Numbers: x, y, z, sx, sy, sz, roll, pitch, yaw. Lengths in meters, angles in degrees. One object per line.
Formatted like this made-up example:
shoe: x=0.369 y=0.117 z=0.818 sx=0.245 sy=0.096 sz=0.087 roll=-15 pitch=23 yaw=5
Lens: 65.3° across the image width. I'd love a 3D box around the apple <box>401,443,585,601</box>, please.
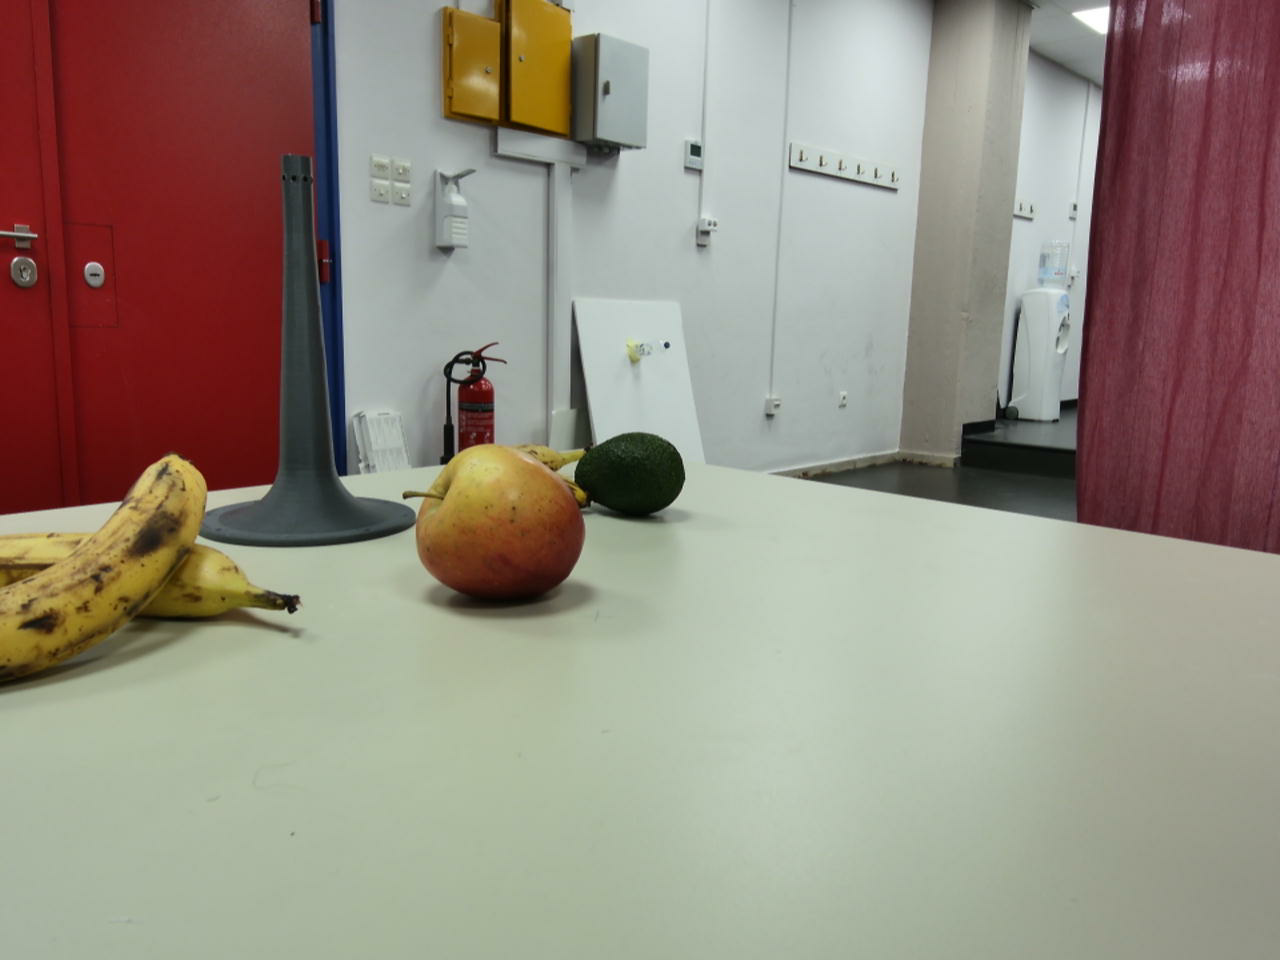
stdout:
apple: x=-0.078 y=0.023 z=0.551 sx=0.093 sy=0.084 sz=0.086 roll=2 pitch=8 yaw=7
